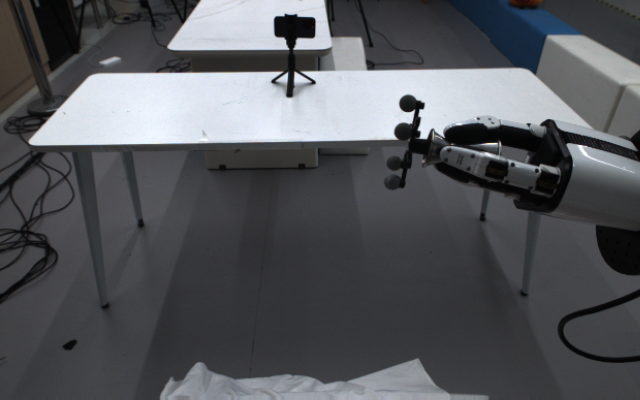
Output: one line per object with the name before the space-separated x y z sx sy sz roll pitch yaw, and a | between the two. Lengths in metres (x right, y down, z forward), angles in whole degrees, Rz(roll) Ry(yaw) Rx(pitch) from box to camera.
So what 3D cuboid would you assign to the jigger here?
jigger | 0.148 -0.048 0.493 0.071 0.043 0.043 11 35 3
